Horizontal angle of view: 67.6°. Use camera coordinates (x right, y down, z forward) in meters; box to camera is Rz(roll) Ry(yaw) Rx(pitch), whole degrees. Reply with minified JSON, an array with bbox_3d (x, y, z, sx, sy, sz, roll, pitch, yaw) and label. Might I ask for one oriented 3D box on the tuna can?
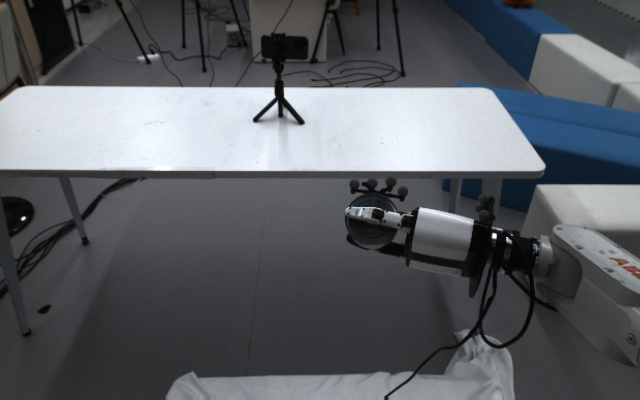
[{"bbox_3d":[0.084,0.030,0.770,0.085,0.034,0.085,-3,68,7],"label":"tuna can"}]
